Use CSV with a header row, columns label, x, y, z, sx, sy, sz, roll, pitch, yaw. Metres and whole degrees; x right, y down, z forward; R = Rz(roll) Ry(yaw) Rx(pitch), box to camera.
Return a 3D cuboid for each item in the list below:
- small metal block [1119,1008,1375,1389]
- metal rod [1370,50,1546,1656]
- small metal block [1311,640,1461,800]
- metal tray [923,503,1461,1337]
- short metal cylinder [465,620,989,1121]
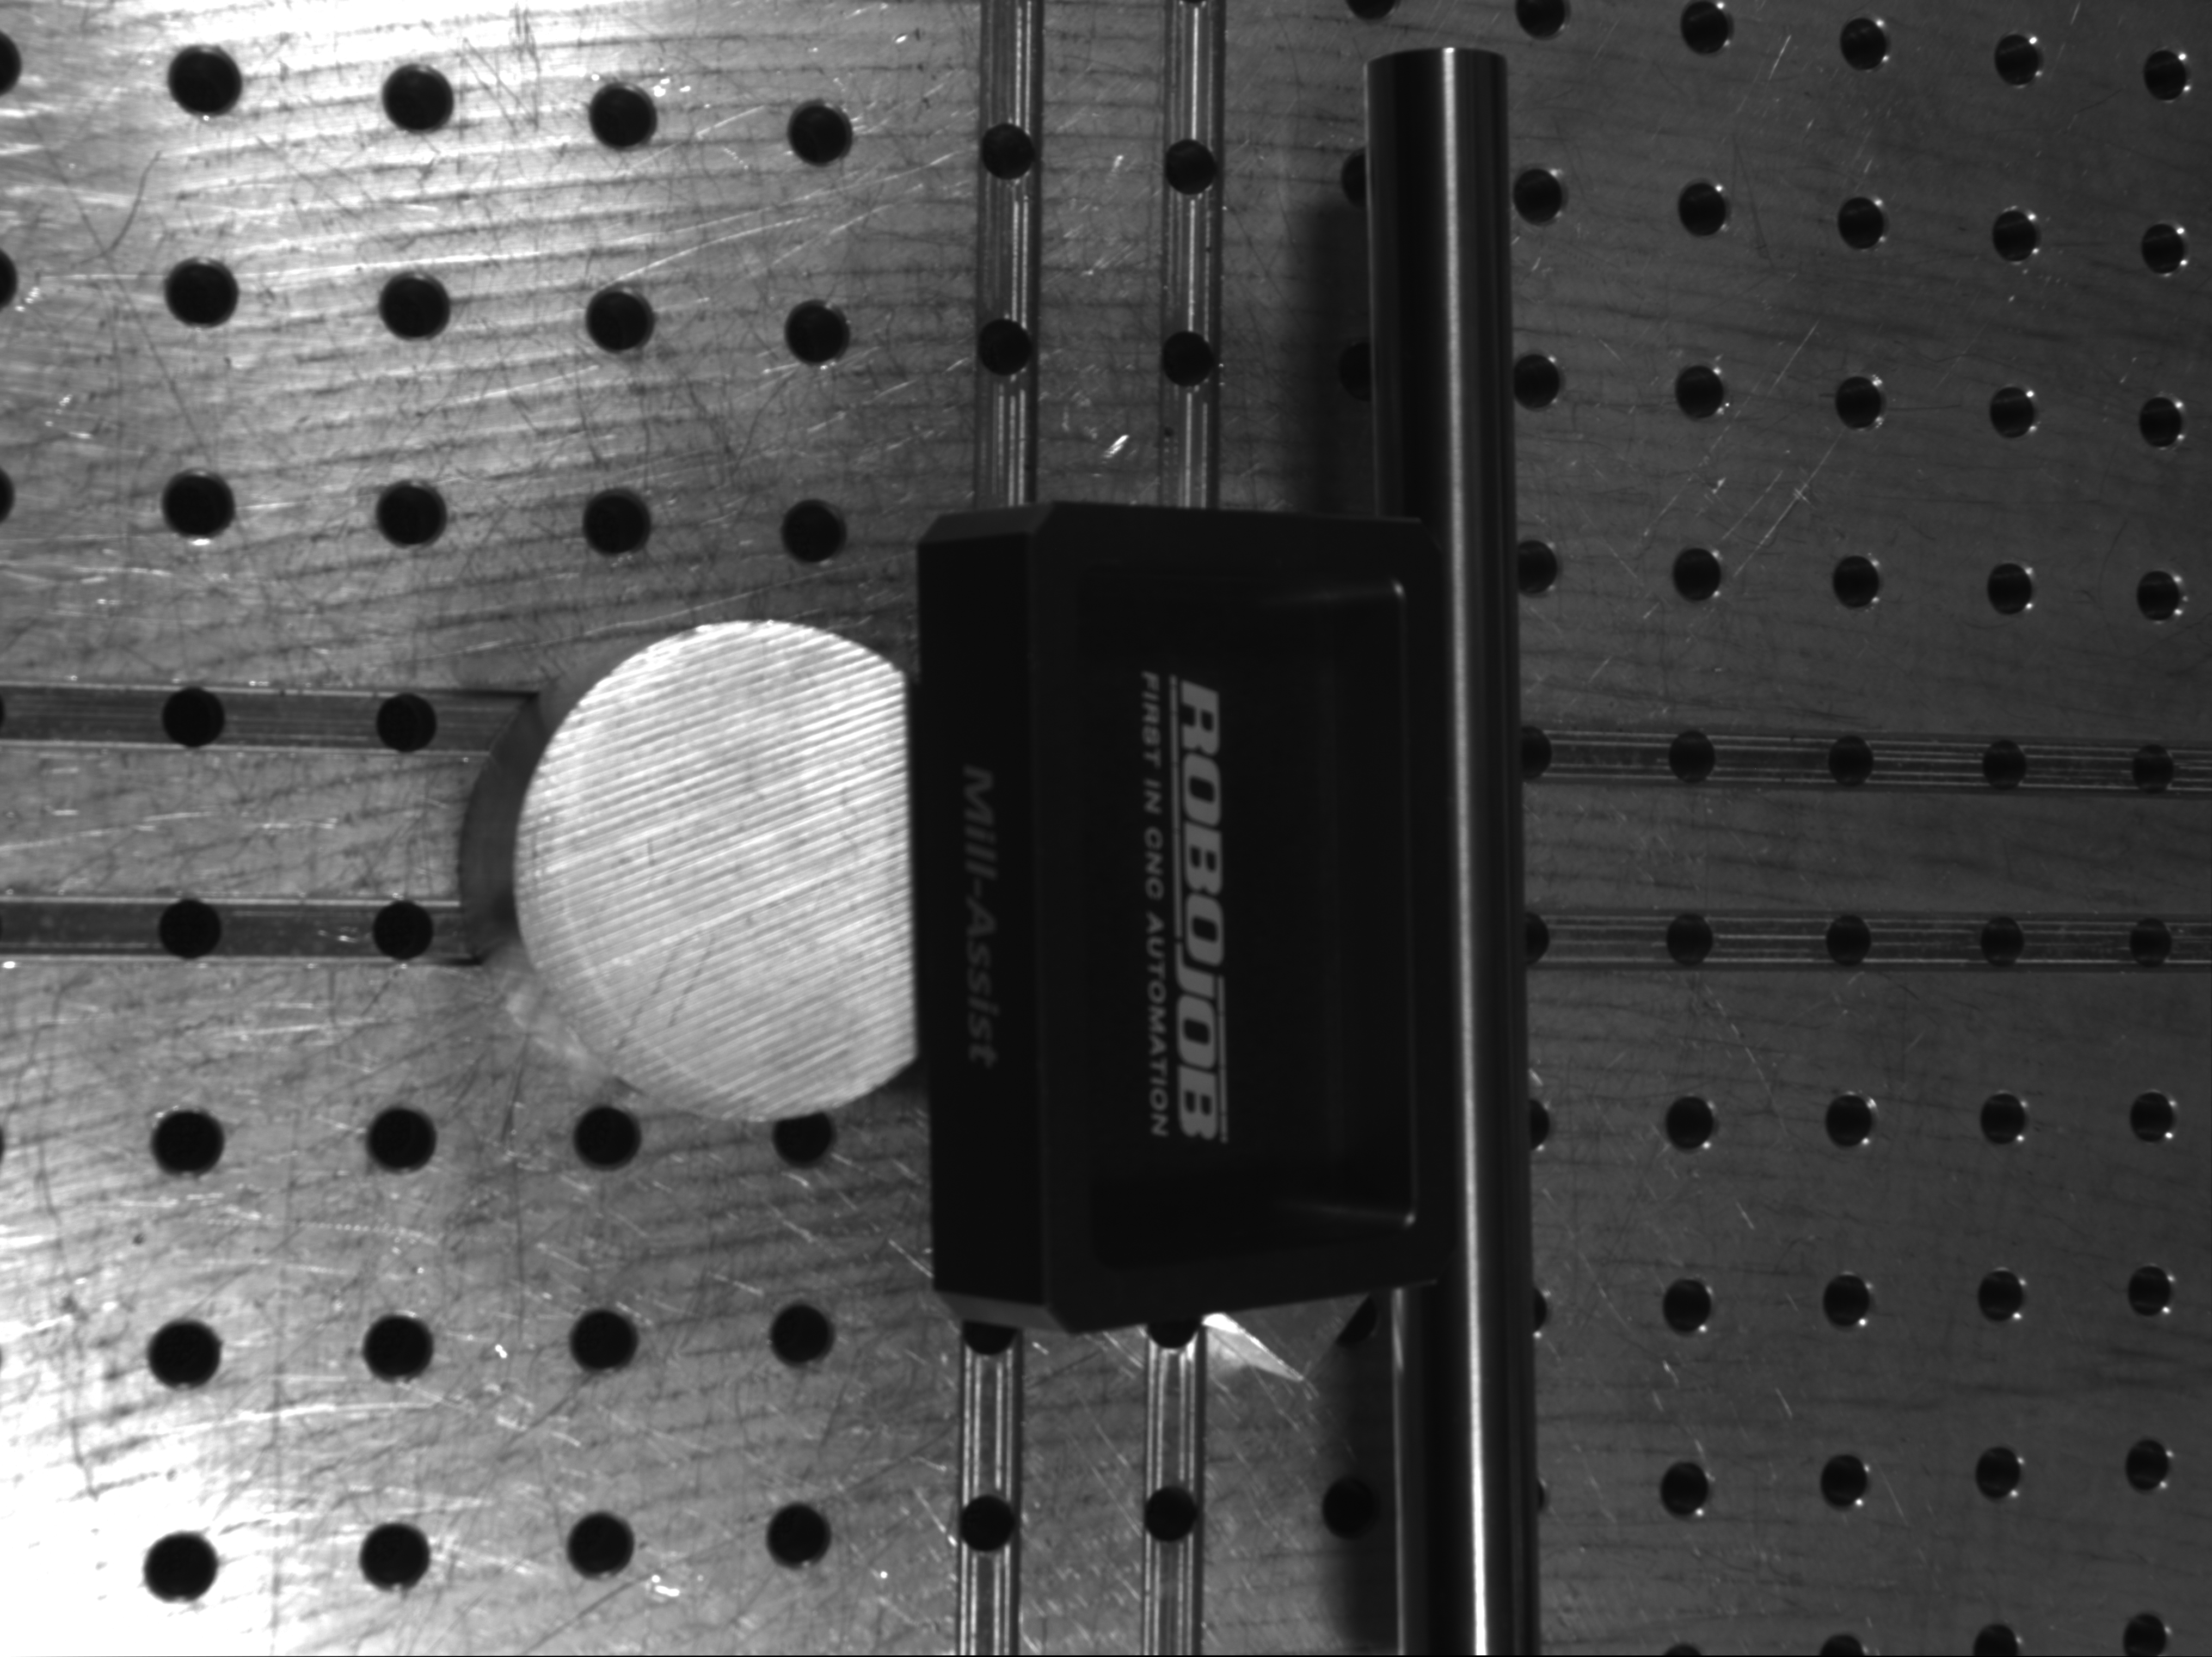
label,x,y,z,sx,sy,sz,roll,pitch,yaw
small metal block,0.029,0.063,0.655,0.050,0.025,0.050,41,77,-15
metal rod,0.062,0.016,0.641,0.025,0.025,0.300,-1,90,-20
small metal block,0.038,-0.025,0.660,0.050,0.025,0.050,-16,95,-19
metal tray,0.016,0.014,0.607,0.090,0.030,0.130,-2,91,-39
short metal cylinder,-0.063,0.007,0.609,0.080,0.050,0.080,0,90,-20
